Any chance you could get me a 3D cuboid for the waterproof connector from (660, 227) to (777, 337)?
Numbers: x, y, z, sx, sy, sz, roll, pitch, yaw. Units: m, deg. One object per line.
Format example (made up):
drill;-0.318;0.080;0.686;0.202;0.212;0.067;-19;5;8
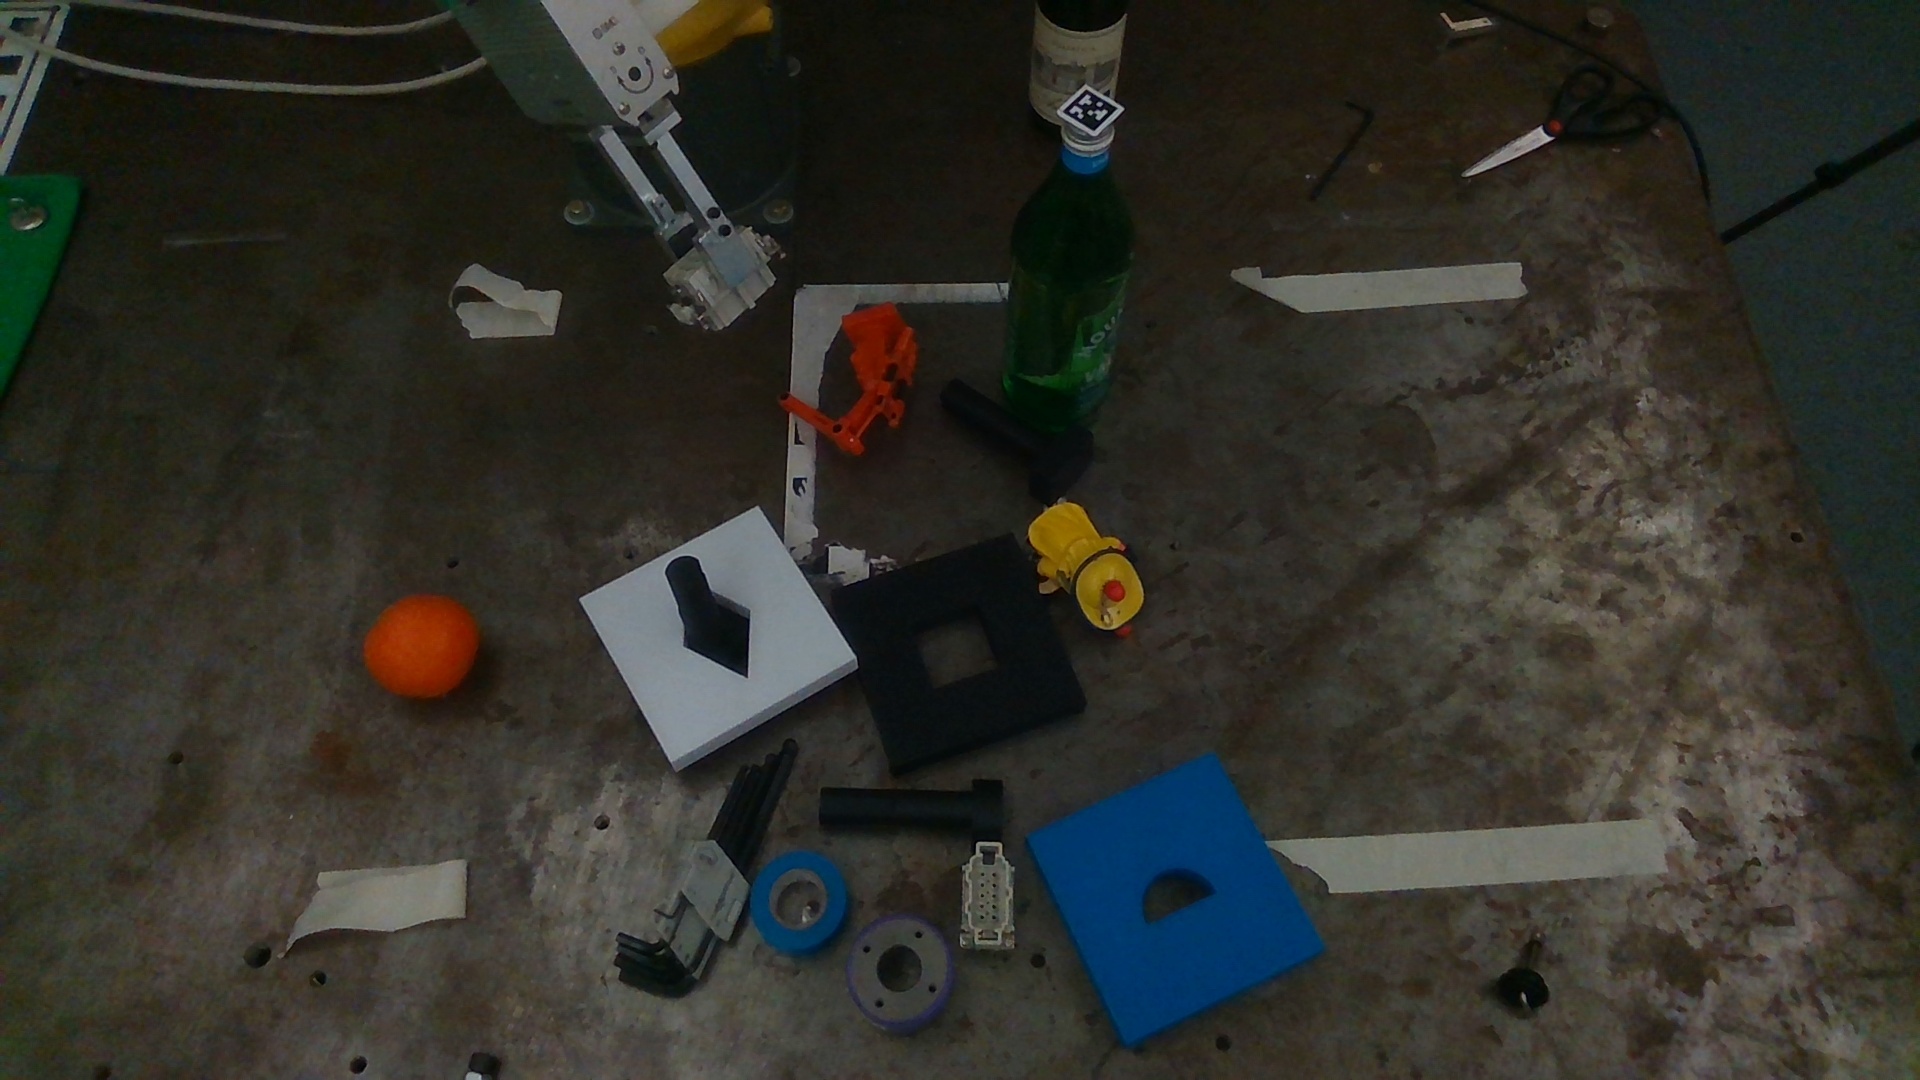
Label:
waterproof connector;-0.131;-0.142;0.763;0.069;0.038;0.037;-46;34;-16
